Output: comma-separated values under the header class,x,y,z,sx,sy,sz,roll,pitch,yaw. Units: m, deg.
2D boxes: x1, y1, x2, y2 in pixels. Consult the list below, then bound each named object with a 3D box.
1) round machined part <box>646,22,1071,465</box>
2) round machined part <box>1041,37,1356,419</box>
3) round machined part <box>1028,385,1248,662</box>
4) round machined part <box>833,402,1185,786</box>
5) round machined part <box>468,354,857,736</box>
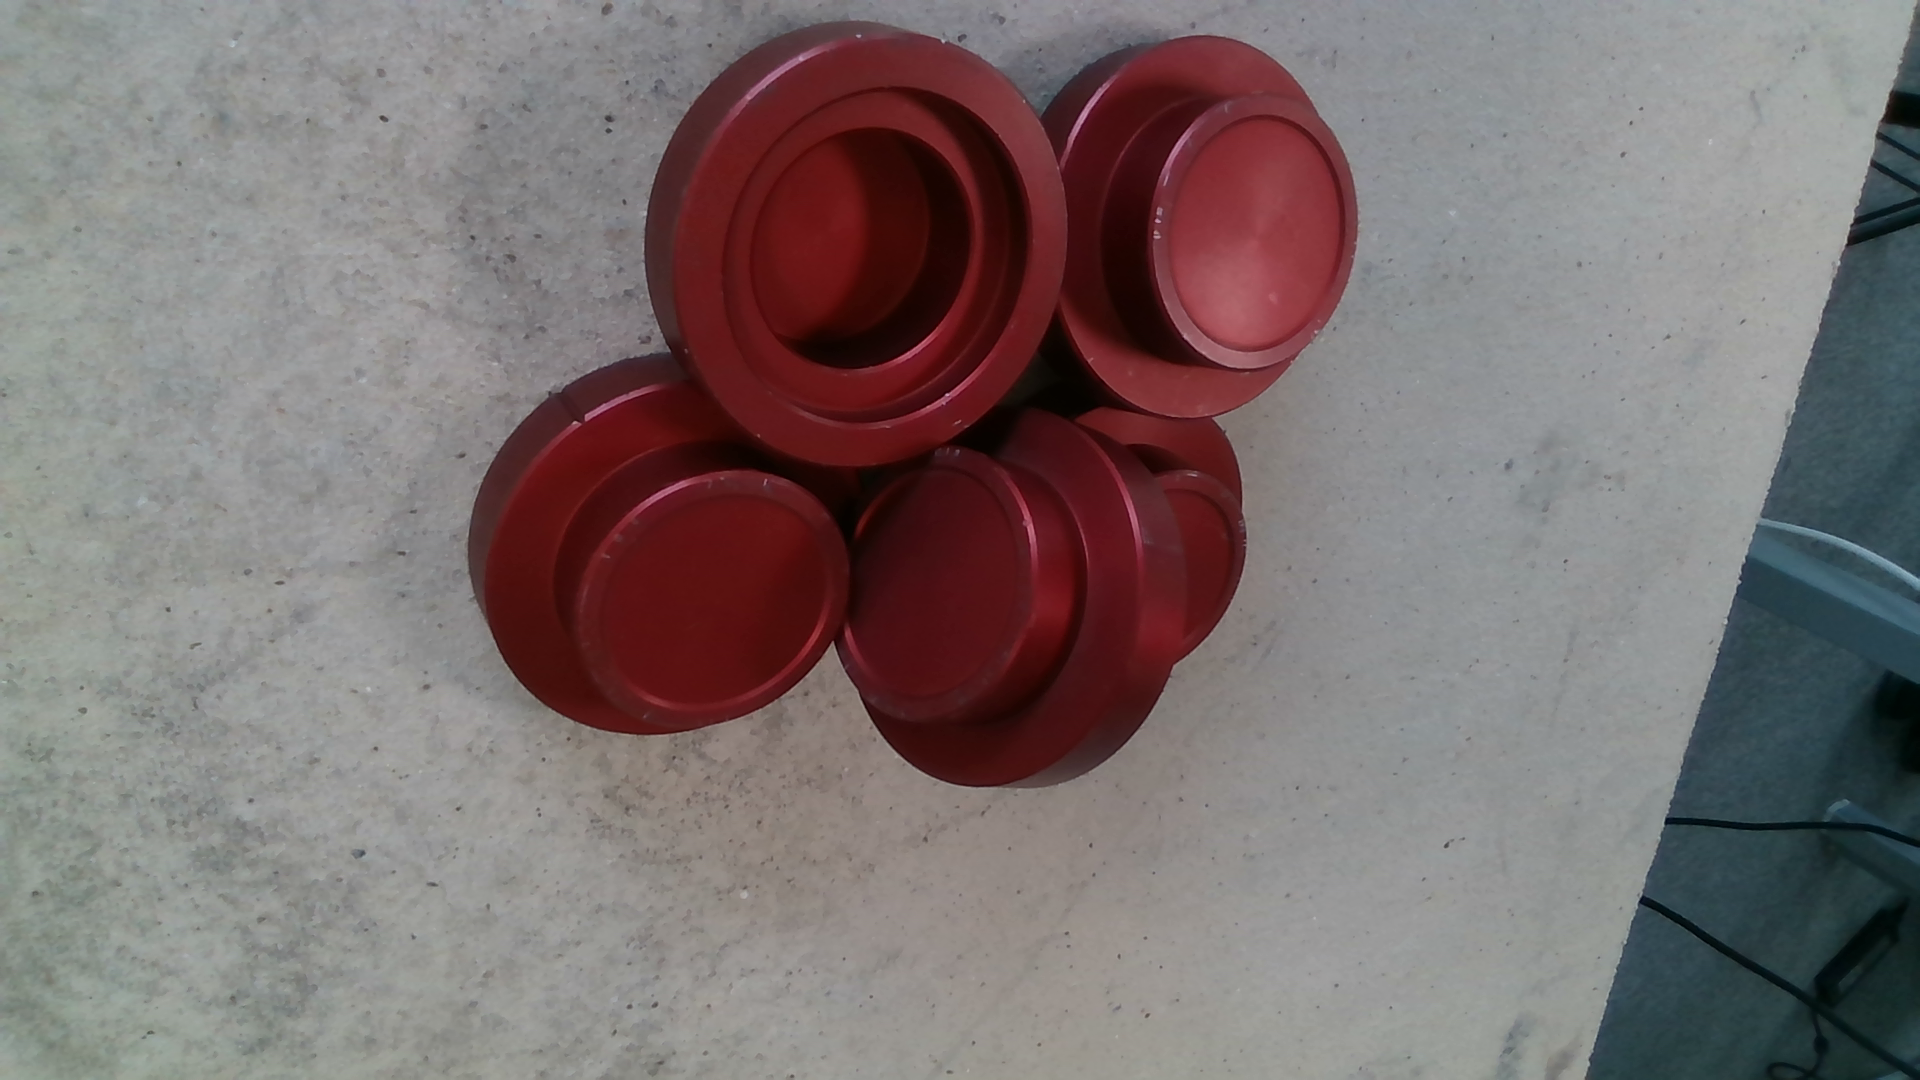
class,x,y,z,sx,sy,sz,roll,pitch,yaw
round machined part,-0.026,-0.071,0.325,0.098,0.042,0.098,-14,121,-24
round machined part,0.064,-0.080,0.362,0.098,0.042,0.098,-7,105,-29
round machined part,0.046,0.003,0.408,0.098,0.042,0.098,-15,123,-26
round machined part,0.004,0.013,0.349,0.042,0.098,0.098,11,109,-50
round machined part,-0.067,0.007,0.342,0.098,0.042,0.098,-16,123,-26
